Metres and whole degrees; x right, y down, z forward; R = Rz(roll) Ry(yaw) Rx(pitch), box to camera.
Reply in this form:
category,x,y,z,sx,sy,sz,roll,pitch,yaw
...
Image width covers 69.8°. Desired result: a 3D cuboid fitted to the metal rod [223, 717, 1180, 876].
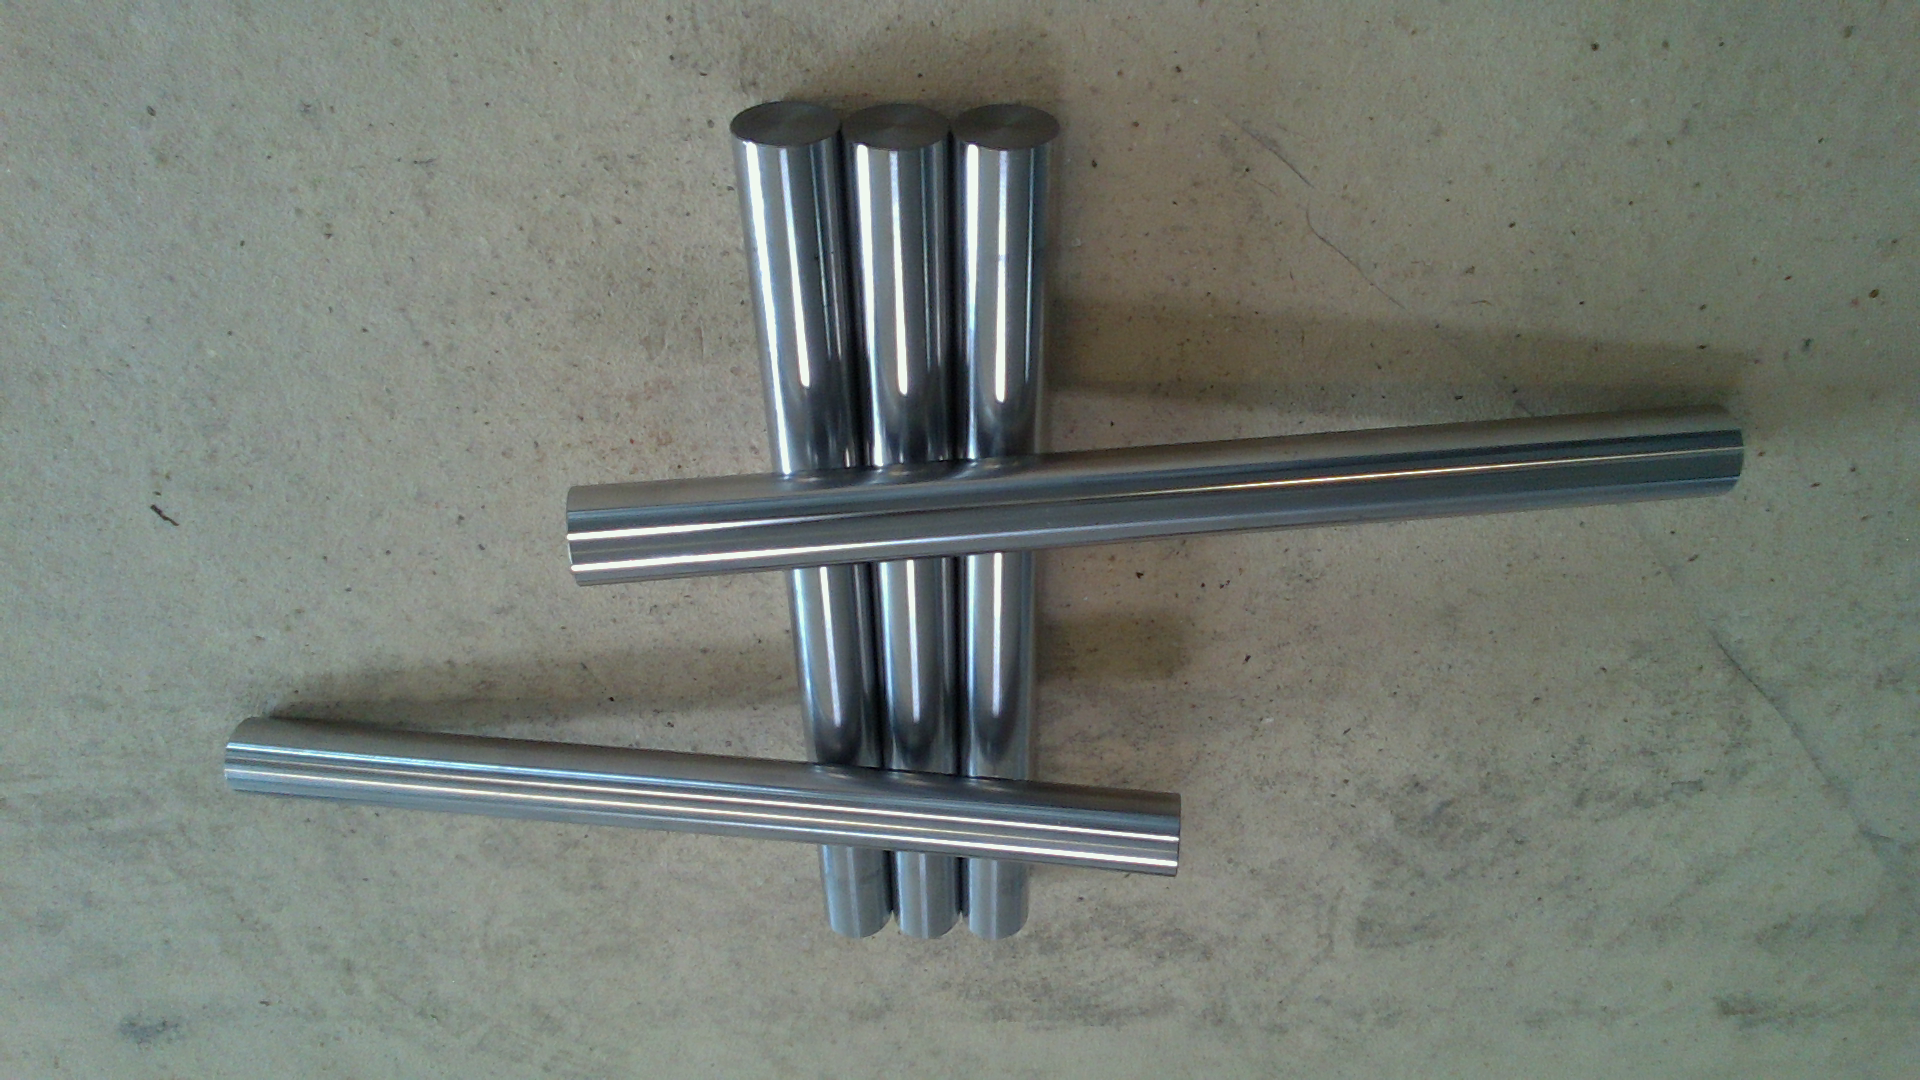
category,x,y,z,sx,sy,sz,roll,pitch,yaw
metal rod,-0.083,0.079,0.432,0.300,0.025,0.025,4,130,6

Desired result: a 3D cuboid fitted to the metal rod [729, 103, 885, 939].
category,x,y,z,sx,sy,sz,roll,pitch,yaw
metal rod,-0.039,0.021,0.407,0.025,0.025,0.300,0,130,0

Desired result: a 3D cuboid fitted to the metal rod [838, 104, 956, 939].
category,x,y,z,sx,sy,sz,roll,pitch,yaw
metal rod,-0.014,0.021,0.408,0.025,0.025,0.300,0,130,0

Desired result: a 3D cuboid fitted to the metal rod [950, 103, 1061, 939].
category,x,y,z,sx,sy,sz,roll,pitch,yaw
metal rod,0.011,0.021,0.408,0.025,0.025,0.300,0,130,0

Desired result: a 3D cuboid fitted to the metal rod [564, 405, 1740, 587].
category,x,y,z,sx,sy,sz,roll,pitch,yaw
metal rod,0.054,-0.013,0.355,0.300,0.025,0.025,-4,130,-7
